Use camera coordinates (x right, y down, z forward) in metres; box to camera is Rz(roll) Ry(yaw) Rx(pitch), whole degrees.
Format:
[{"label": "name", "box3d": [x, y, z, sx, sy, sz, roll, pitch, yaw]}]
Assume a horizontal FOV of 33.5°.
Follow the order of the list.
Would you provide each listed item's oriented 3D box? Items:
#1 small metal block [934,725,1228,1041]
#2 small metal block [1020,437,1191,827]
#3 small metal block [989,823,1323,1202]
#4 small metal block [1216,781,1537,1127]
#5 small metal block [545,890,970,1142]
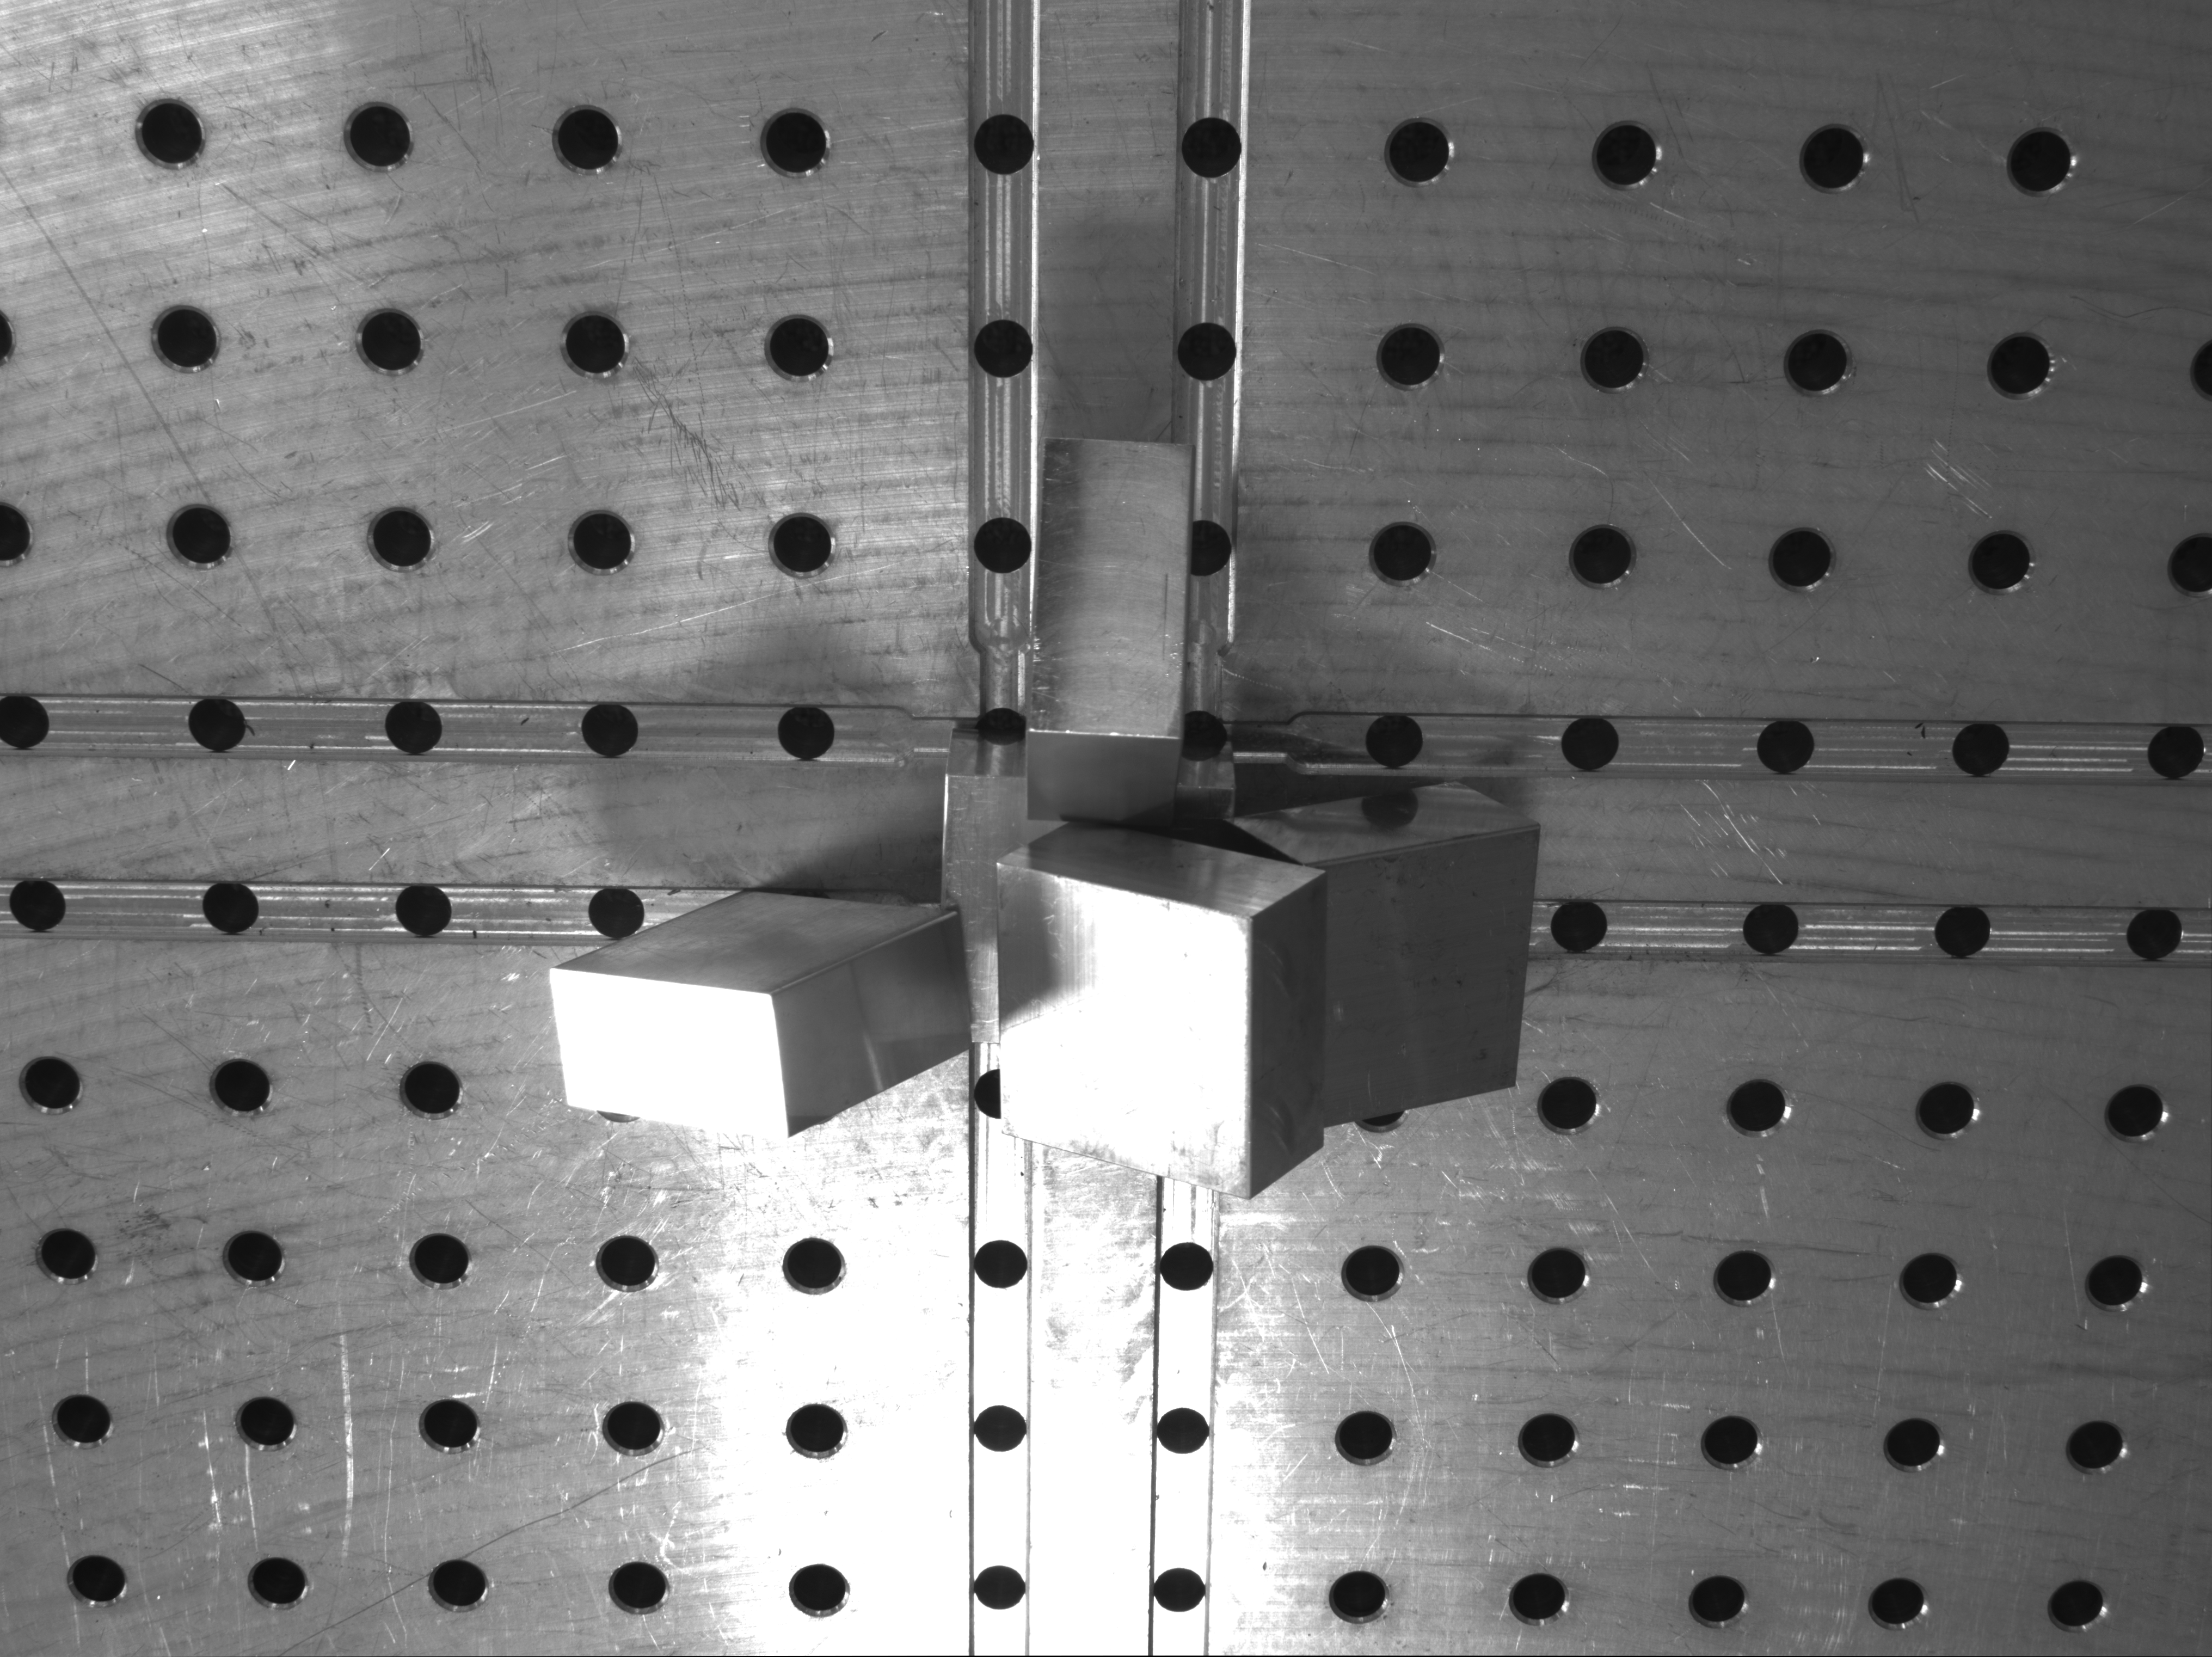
[{"label": "small metal block", "box3d": [-0.005, 0.010, 0.651, 0.050, 0.025, 0.050, 2, 110, -1]}, {"label": "small metal block", "box3d": [0.000, -0.032, 0.611, 0.025, 0.050, 0.050, 3, 74, 0]}, {"label": "small metal block", "box3d": [0.008, 0.030, 0.619, 0.050, 0.025, 0.050, 12, 113, 31]}, {"label": "small metal block", "box3d": [0.046, 0.022, 0.643, 0.050, 0.025, 0.050, -9, 113, -30]}, {"label": "small metal block", "box3d": [-0.060, 0.031, 0.634, 0.050, 0.050, 0.025, 5, 108, 35]}]
